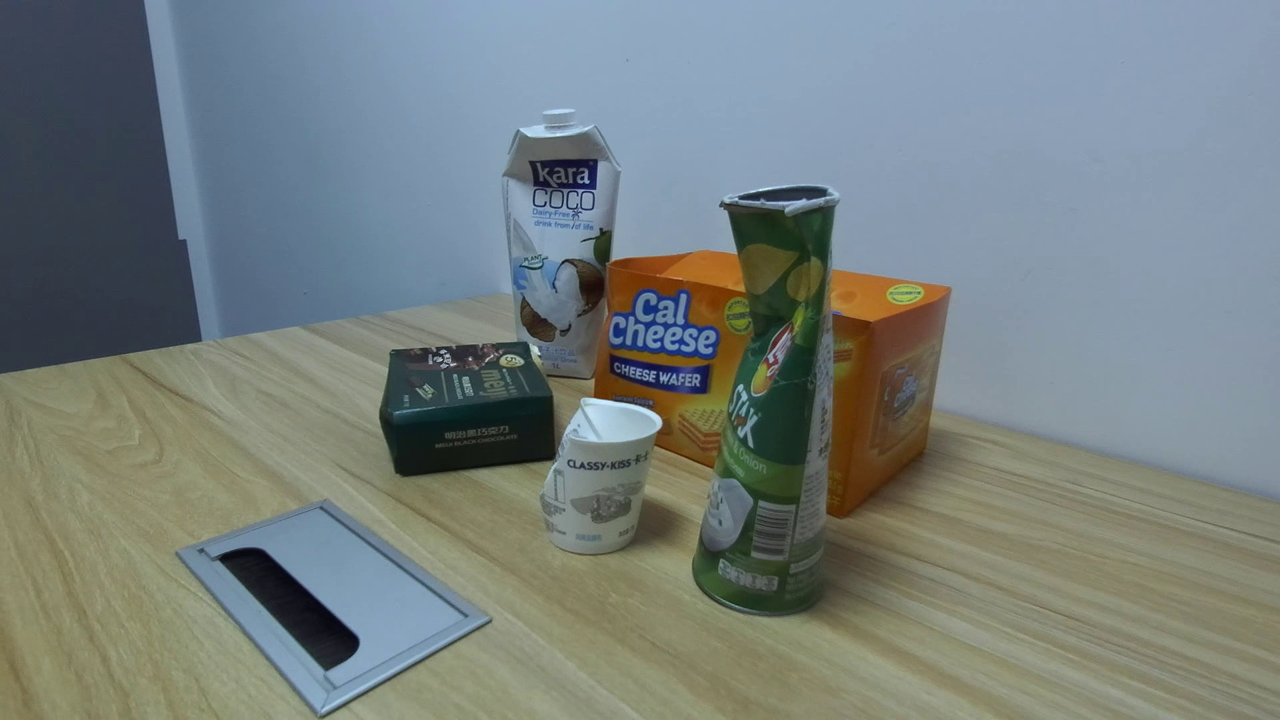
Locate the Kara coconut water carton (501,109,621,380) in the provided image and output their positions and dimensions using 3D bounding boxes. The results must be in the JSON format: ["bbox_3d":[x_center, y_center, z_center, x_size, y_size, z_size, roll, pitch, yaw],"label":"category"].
[{"bbox_3d":[-0.072,-0.104,0.650,0.115,0.238,0.069,5,19,9],"label":"Kara coconut water carton"}]

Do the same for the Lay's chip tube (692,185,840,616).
[{"bbox_3d":[0.066,0.019,0.340,0.077,0.201,0.069,15,21,42],"label":"Lay's chip tube"}]

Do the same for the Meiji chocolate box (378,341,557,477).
[{"bbox_3d":[-0.125,0.034,0.520,0.123,0.058,0.115,-4,23,-17],"label":"Meiji chocolate box"}]

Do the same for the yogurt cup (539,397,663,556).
[{"bbox_3d":[-0.023,0.065,0.396,0.067,0.070,0.067,3,17,0],"label":"yogurt cup"}]

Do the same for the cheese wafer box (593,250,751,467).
[{"bbox_3d":[0.086,0.000,0.529,0.229,0.132,0.153,18,24,38],"label":"cheese wafer box"}]
